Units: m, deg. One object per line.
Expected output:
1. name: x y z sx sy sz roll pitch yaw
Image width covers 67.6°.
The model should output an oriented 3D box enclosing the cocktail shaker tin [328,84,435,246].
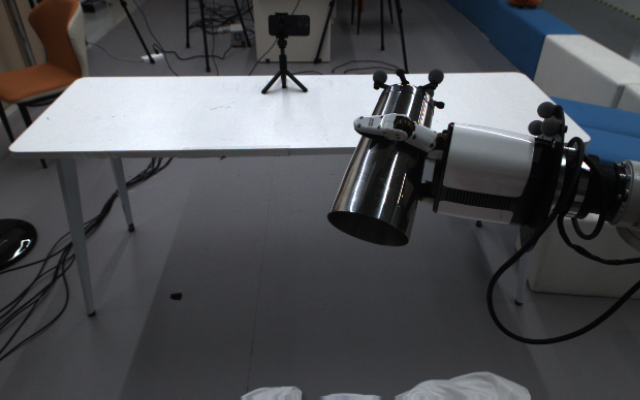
1. cocktail shaker tin: 0.078 -0.044 0.550 0.093 0.093 0.170 14 70 16
